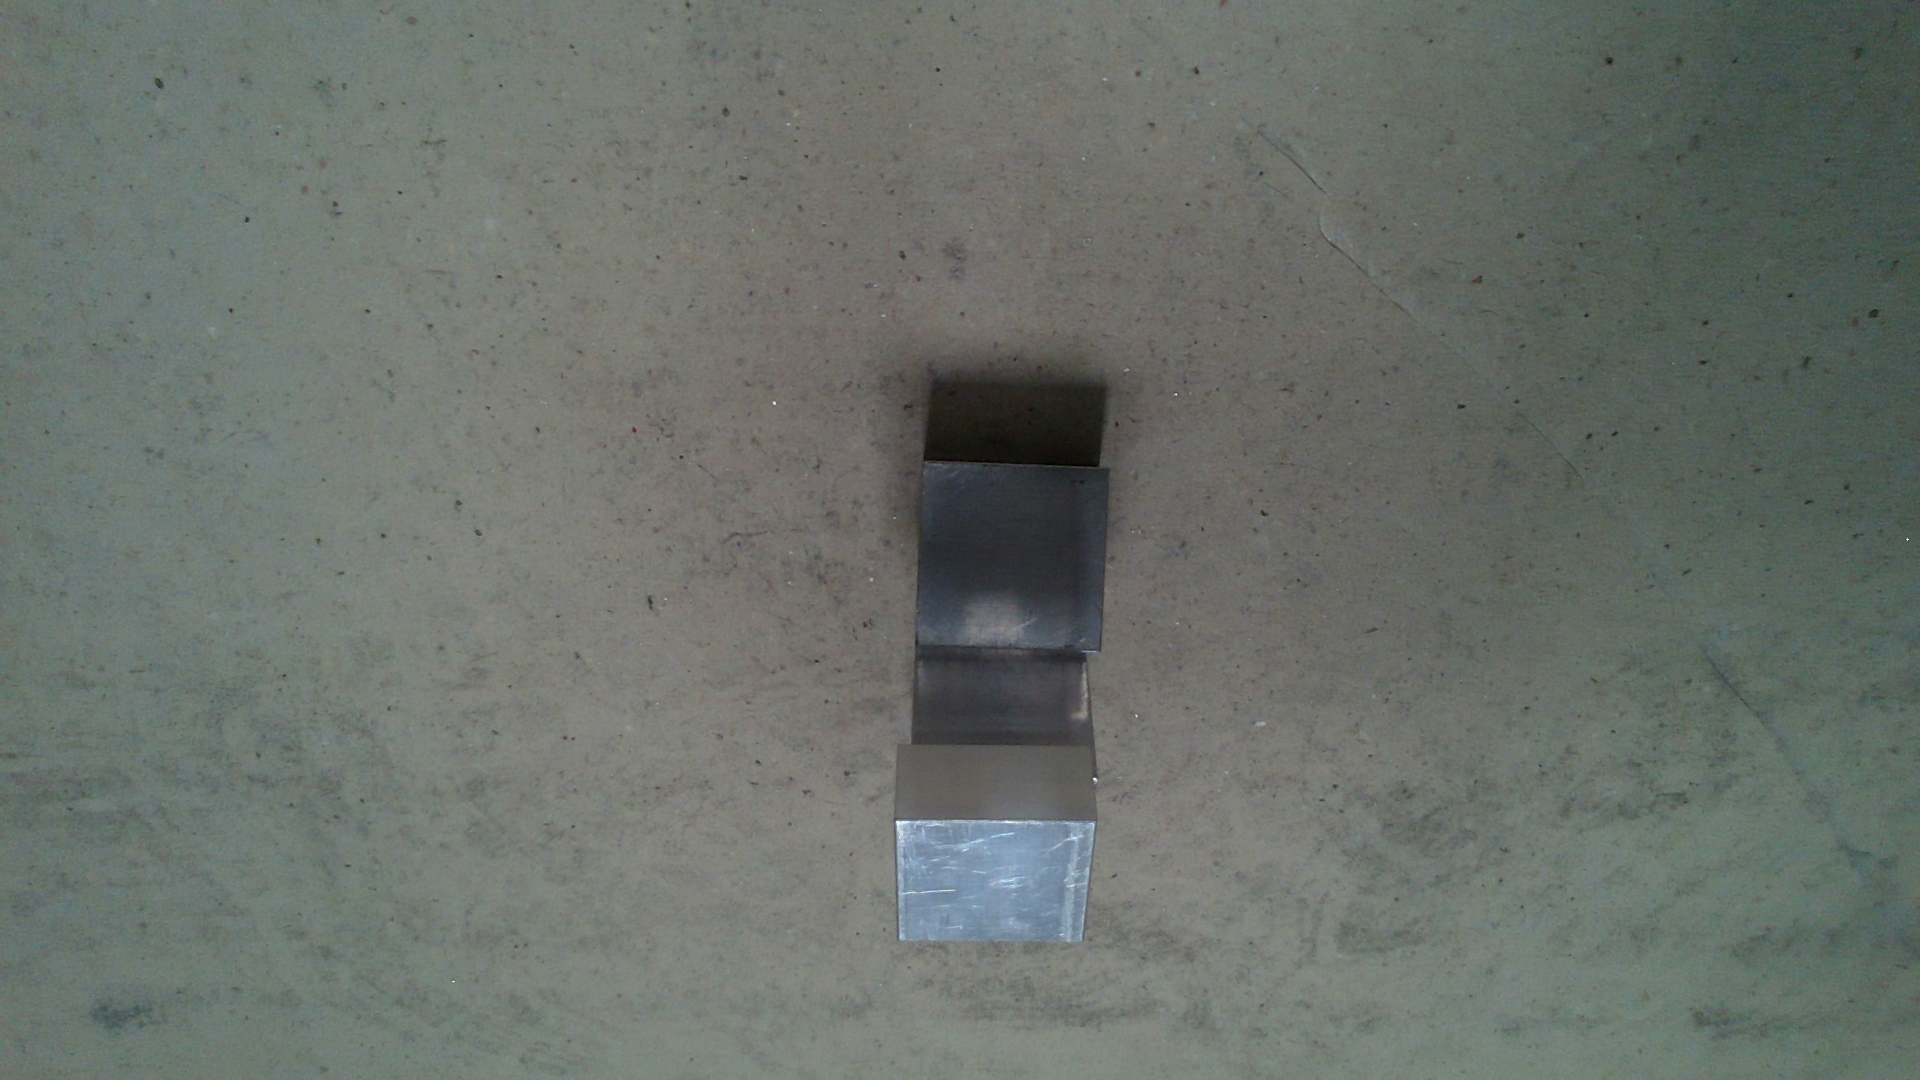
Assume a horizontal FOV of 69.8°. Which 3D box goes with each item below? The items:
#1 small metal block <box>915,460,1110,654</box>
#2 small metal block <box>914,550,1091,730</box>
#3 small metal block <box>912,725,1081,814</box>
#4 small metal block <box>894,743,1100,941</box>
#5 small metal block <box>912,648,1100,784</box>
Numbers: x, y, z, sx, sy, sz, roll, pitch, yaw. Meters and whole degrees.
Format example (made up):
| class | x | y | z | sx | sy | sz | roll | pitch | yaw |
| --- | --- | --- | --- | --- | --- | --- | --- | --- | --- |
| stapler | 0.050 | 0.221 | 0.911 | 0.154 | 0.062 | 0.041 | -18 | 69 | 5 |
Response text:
| class | x | y | z | sx | sy | sz | roll | pitch | yaw |
| --- | --- | --- | --- | --- | --- | --- | --- | --- | --- |
| small metal block | 0.014 | 0.004 | 0.378 | 0.050 | 0.025 | 0.050 | 2 | 94 | -1 |
| small metal block | 0.012 | 0.031 | 0.418 | 0.050 | 0.025 | 0.050 | 2 | 130 | -2 |
| small metal block | 0.011 | 0.073 | 0.436 | 0.050 | 0.025 | 0.050 | 2 | 171 | -1 |
| small metal block | 0.009 | 0.080 | 0.360 | 0.050 | 0.025 | 0.050 | 1 | 130 | -1 |
| small metal block | 0.012 | 0.057 | 0.389 | 0.050 | 0.050 | 0.025 | 2 | 130 | -2 |
